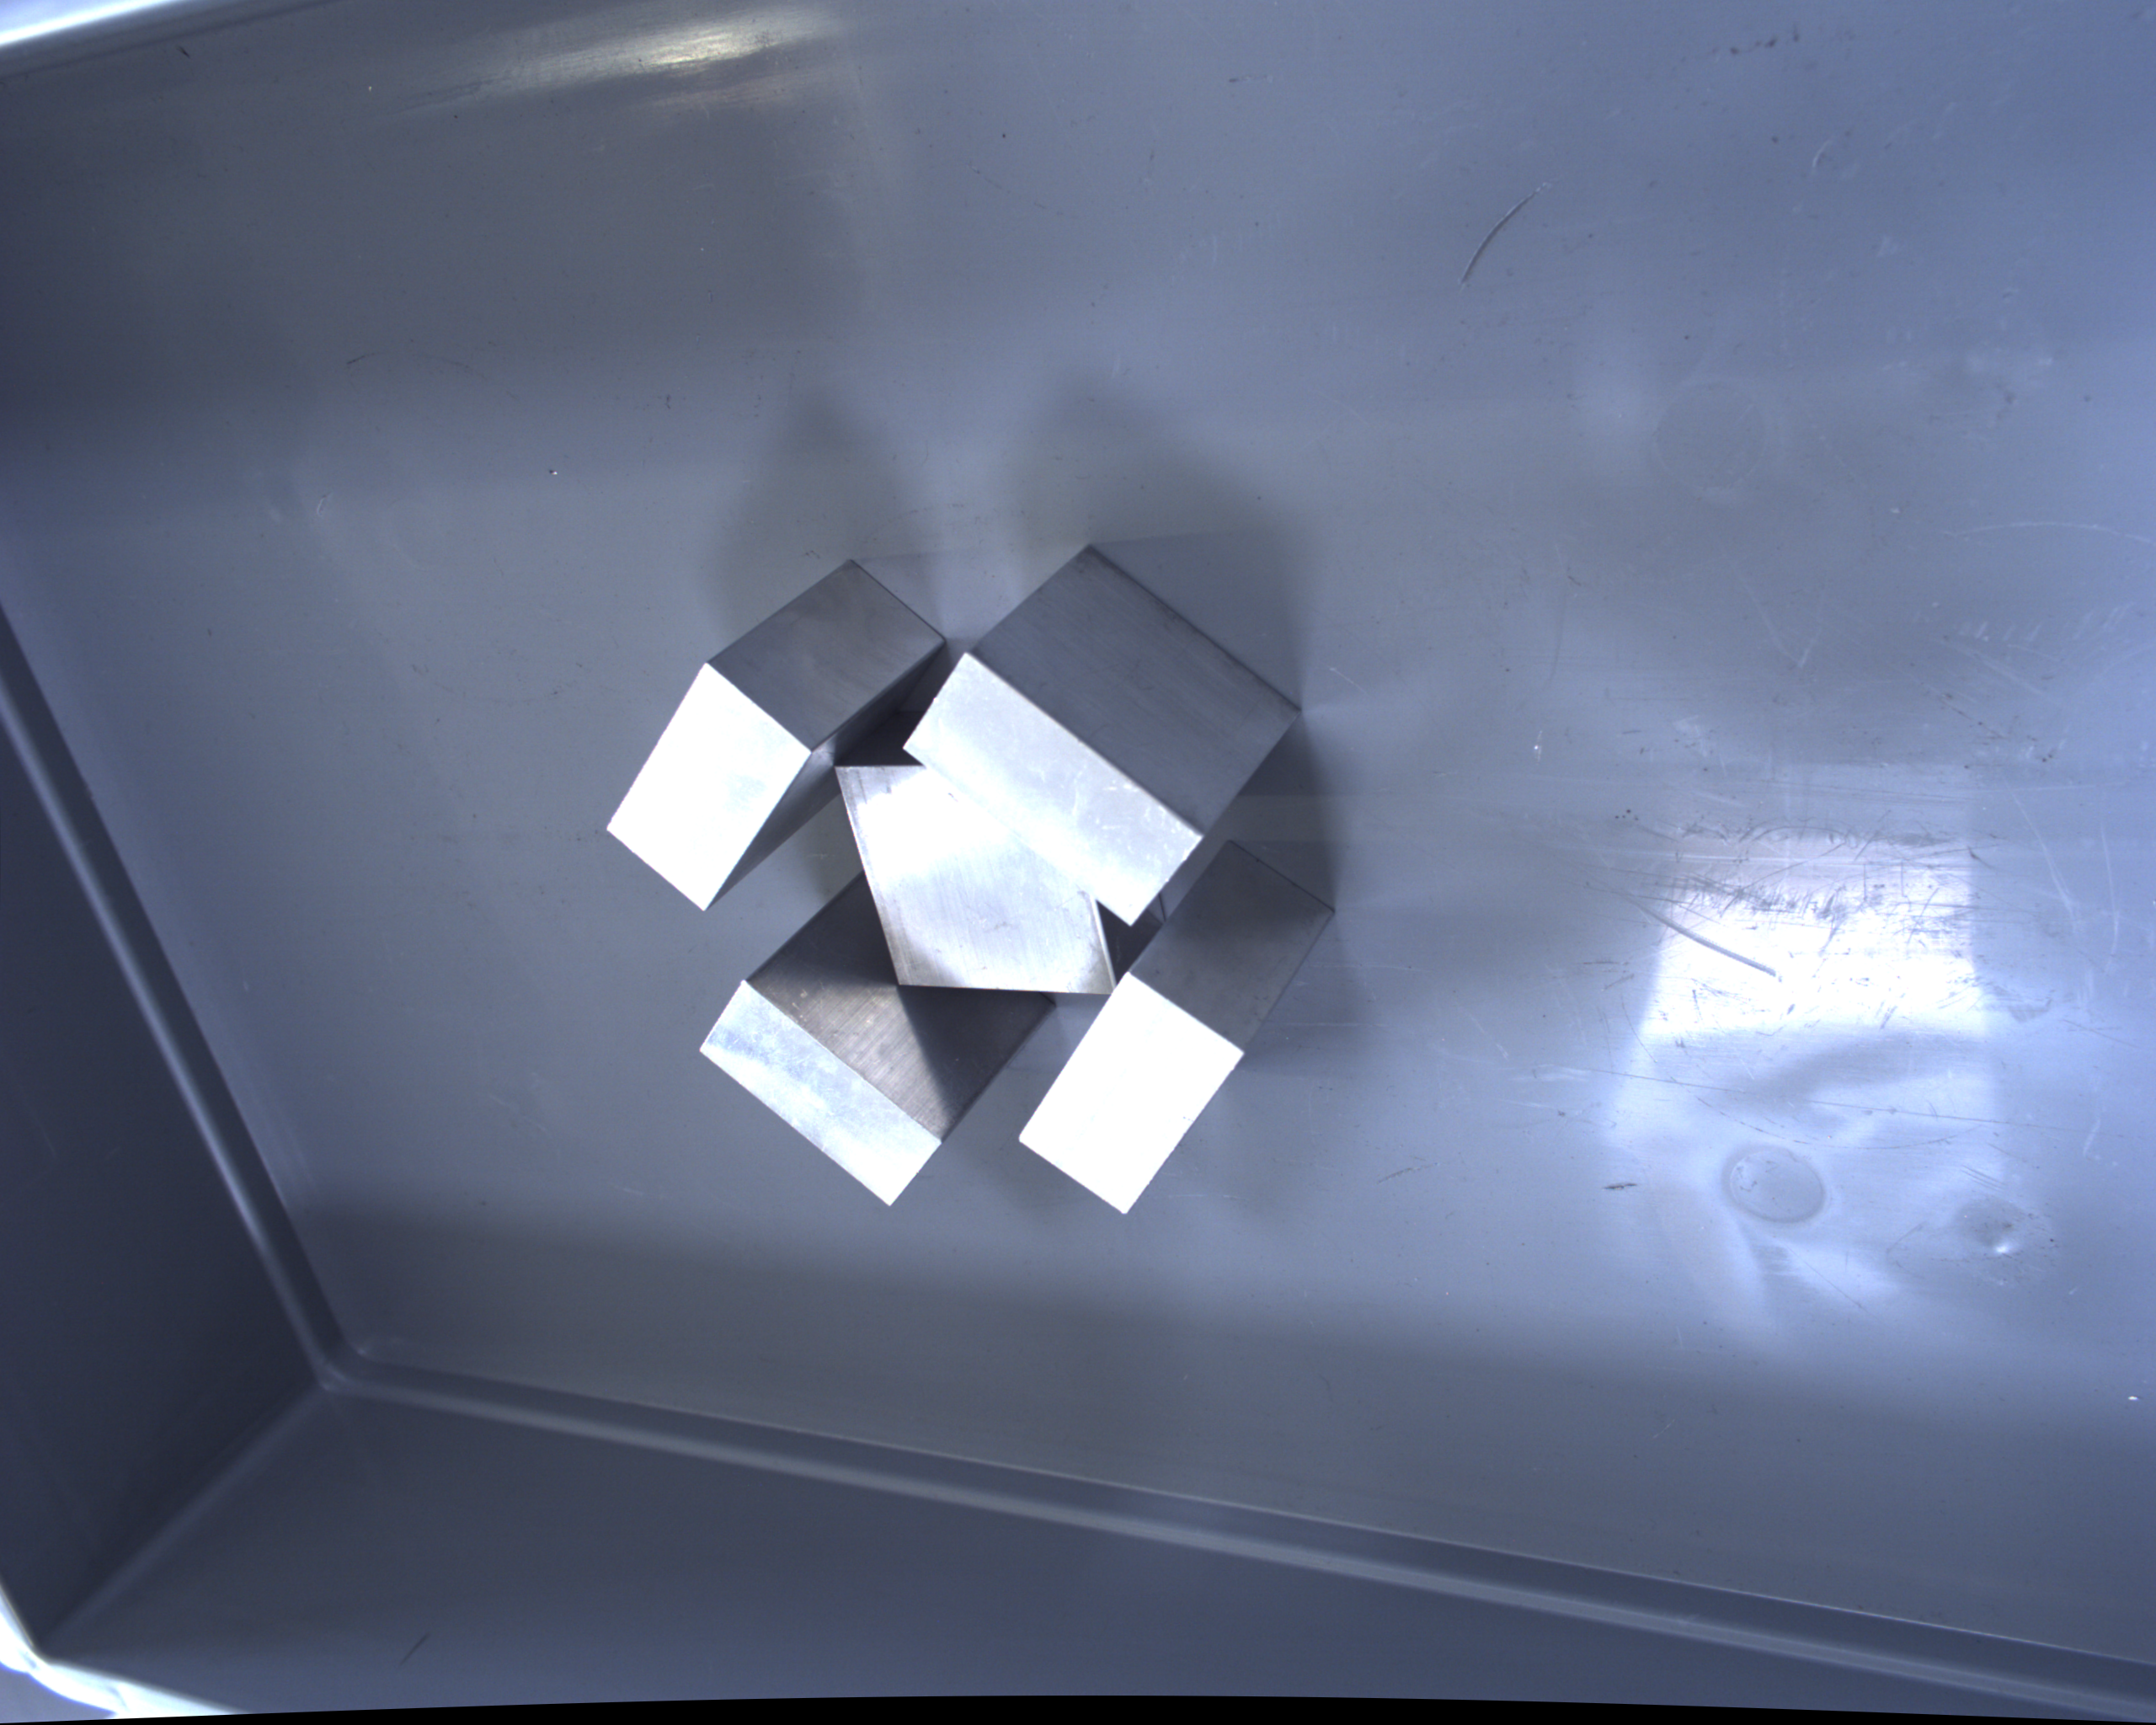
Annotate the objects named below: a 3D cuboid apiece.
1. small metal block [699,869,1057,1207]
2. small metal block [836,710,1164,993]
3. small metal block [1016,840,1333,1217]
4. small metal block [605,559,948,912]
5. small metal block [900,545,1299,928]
[{"bbox_3d":[-0.041,0.034,0.433,0.050,0.050,0.025,39,130,2],"label":"small metal block"},{"bbox_3d":[-0.015,-0.003,0.412,0.050,0.025,0.050,1,119,28],"label":"small metal block"},{"bbox_3d":[0.019,0.031,0.399,0.025,0.050,0.050,34,128,4],"label":"small metal block"},{"bbox_3d":[-0.058,-0.025,0.405,0.025,0.050,0.050,41,130,1],"label":"small metal block"},{"bbox_3d":[0.005,-0.024,0.372,0.050,0.050,0.025,38,128,1],"label":"small metal block"}]
